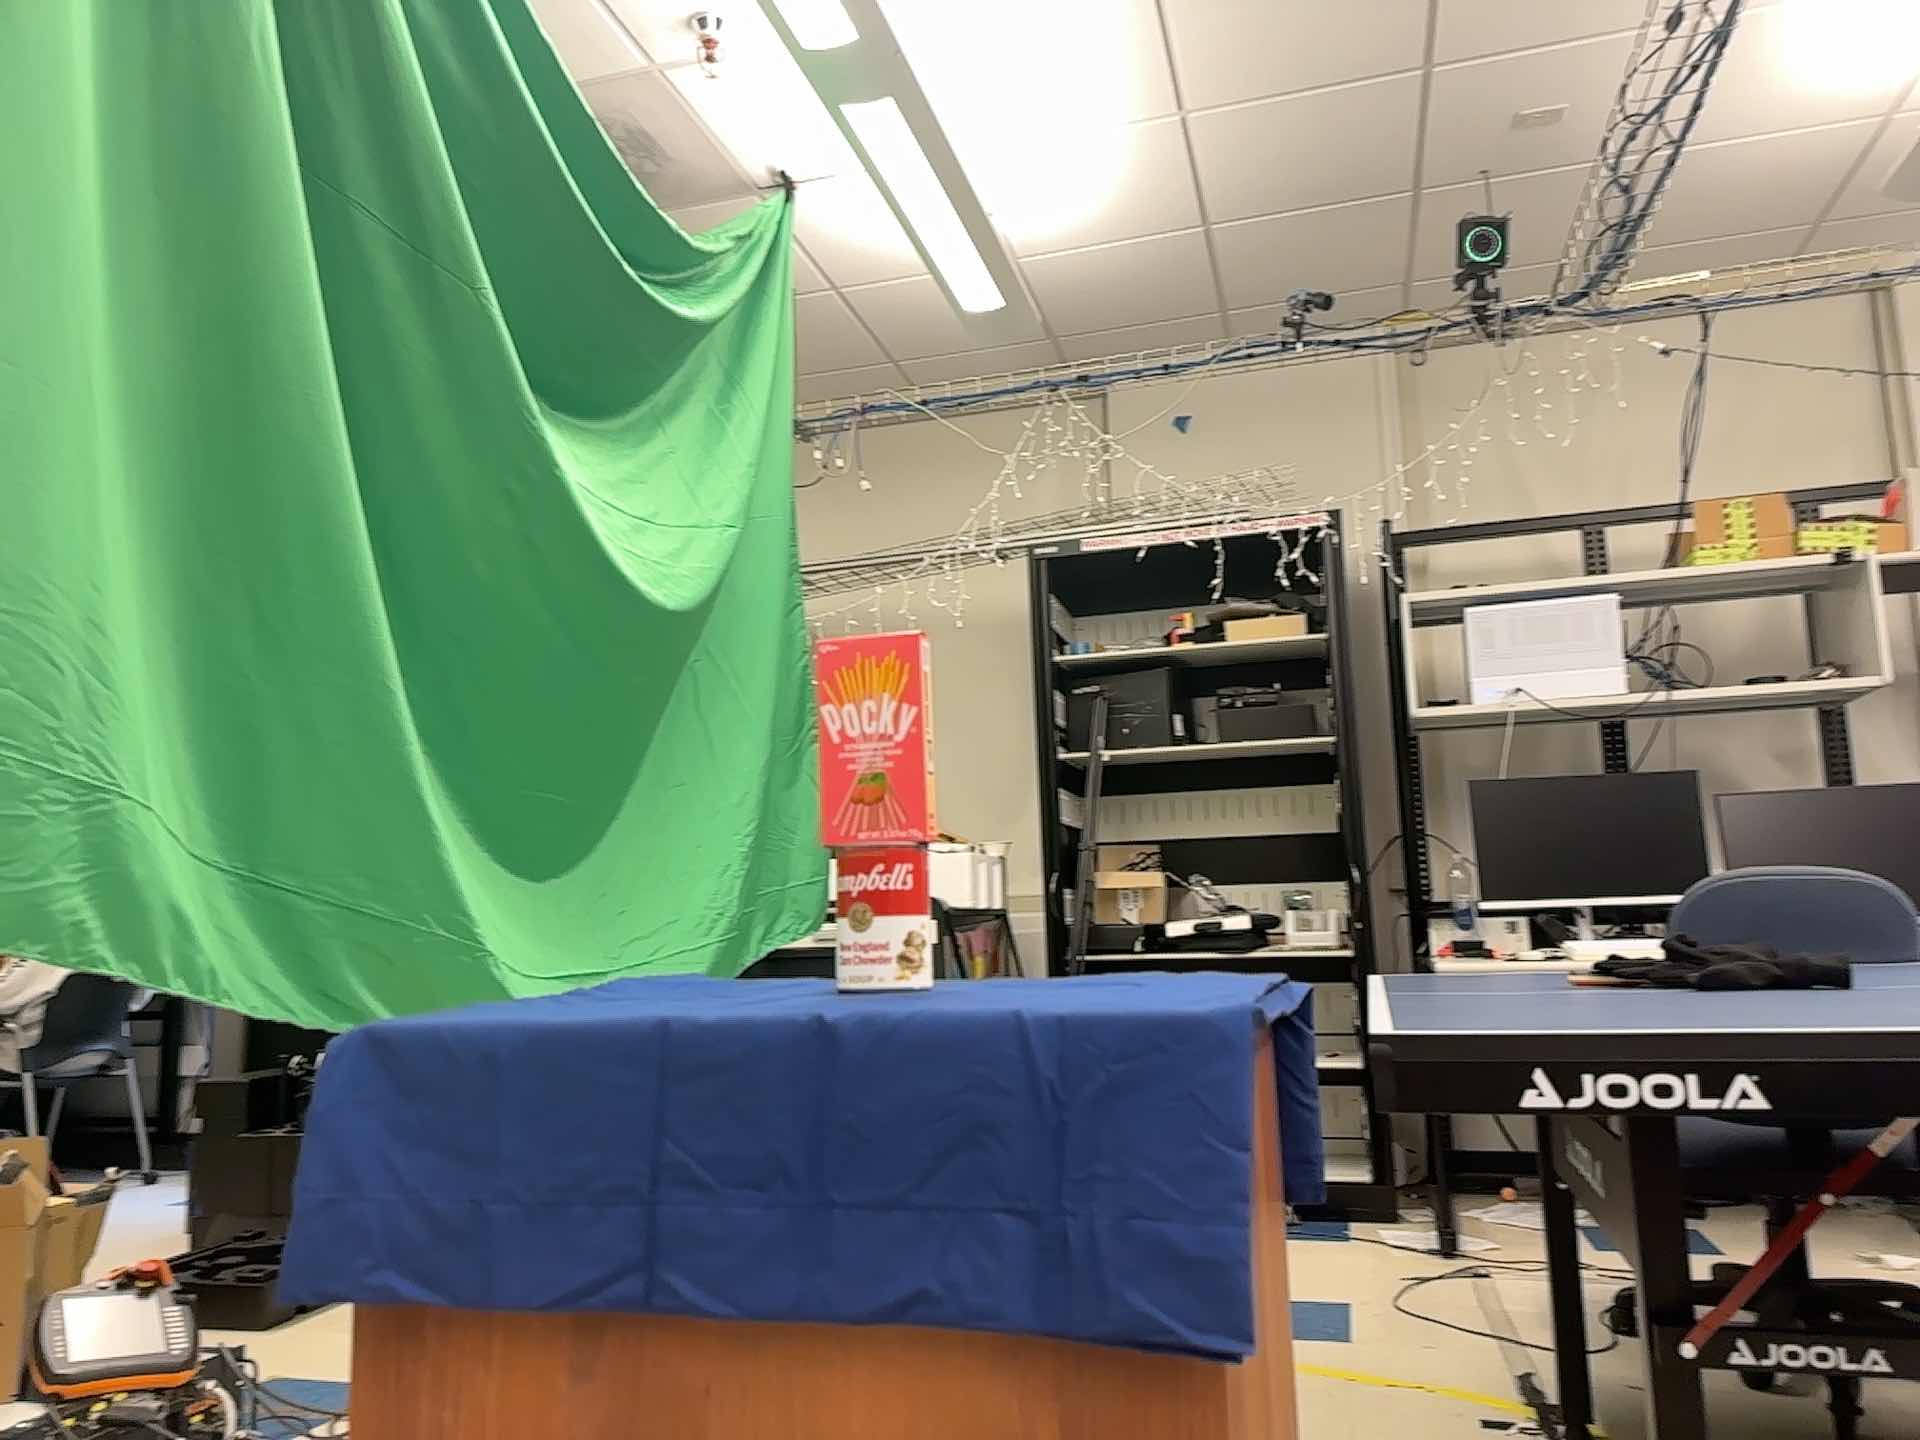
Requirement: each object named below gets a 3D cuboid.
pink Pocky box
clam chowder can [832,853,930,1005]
[{"bbox_3d":[-0.063,0.019,0.955,0.084,0.155,0.029,-5,-9,20],"label":"pink Pocky box"},{"bbox_3d":[-0.055,0.146,0.939,0.068,0.102,0.068,-1,-9,0],"label":"clam chowder can"}]
